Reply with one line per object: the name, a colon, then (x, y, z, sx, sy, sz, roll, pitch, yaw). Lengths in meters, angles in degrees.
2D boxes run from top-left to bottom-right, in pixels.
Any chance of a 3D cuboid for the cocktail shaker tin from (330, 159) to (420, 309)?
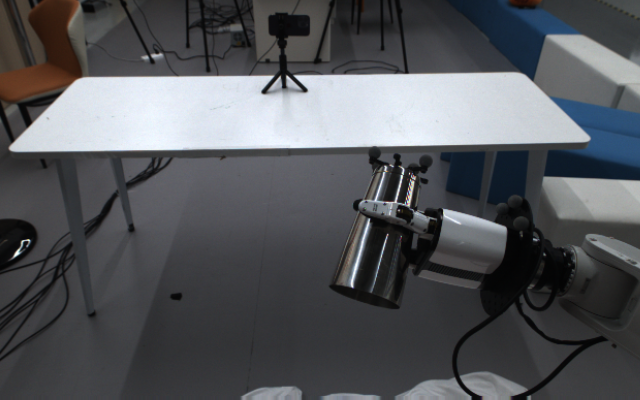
cocktail shaker tin: (0.079, 0.043, 0.624, 0.093, 0.093, 0.170, 13, 70, 15)
